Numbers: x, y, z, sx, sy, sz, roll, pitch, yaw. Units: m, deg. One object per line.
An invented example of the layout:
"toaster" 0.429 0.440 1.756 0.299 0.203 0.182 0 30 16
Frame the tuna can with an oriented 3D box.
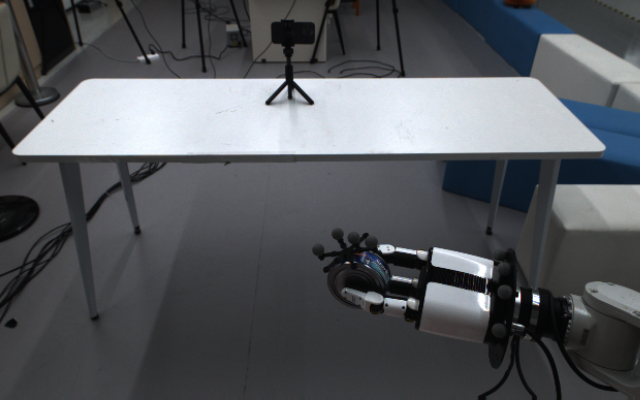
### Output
"tuna can" 0.058 0.118 0.675 0.085 0.085 0.034 11 34 13
